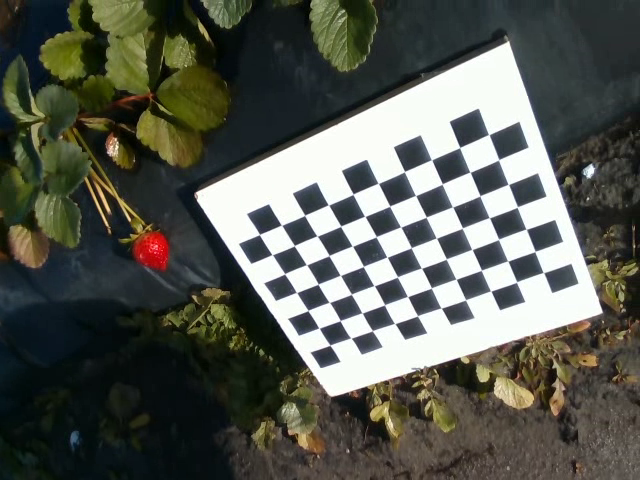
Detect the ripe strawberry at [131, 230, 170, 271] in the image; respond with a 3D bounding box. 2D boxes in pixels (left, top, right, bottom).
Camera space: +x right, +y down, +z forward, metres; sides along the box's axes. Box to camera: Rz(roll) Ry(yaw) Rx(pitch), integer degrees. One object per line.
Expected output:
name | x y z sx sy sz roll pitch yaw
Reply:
ripe strawberry | -0.153 0.013 0.552 0.040 0.044 0.037 -41 6 26
